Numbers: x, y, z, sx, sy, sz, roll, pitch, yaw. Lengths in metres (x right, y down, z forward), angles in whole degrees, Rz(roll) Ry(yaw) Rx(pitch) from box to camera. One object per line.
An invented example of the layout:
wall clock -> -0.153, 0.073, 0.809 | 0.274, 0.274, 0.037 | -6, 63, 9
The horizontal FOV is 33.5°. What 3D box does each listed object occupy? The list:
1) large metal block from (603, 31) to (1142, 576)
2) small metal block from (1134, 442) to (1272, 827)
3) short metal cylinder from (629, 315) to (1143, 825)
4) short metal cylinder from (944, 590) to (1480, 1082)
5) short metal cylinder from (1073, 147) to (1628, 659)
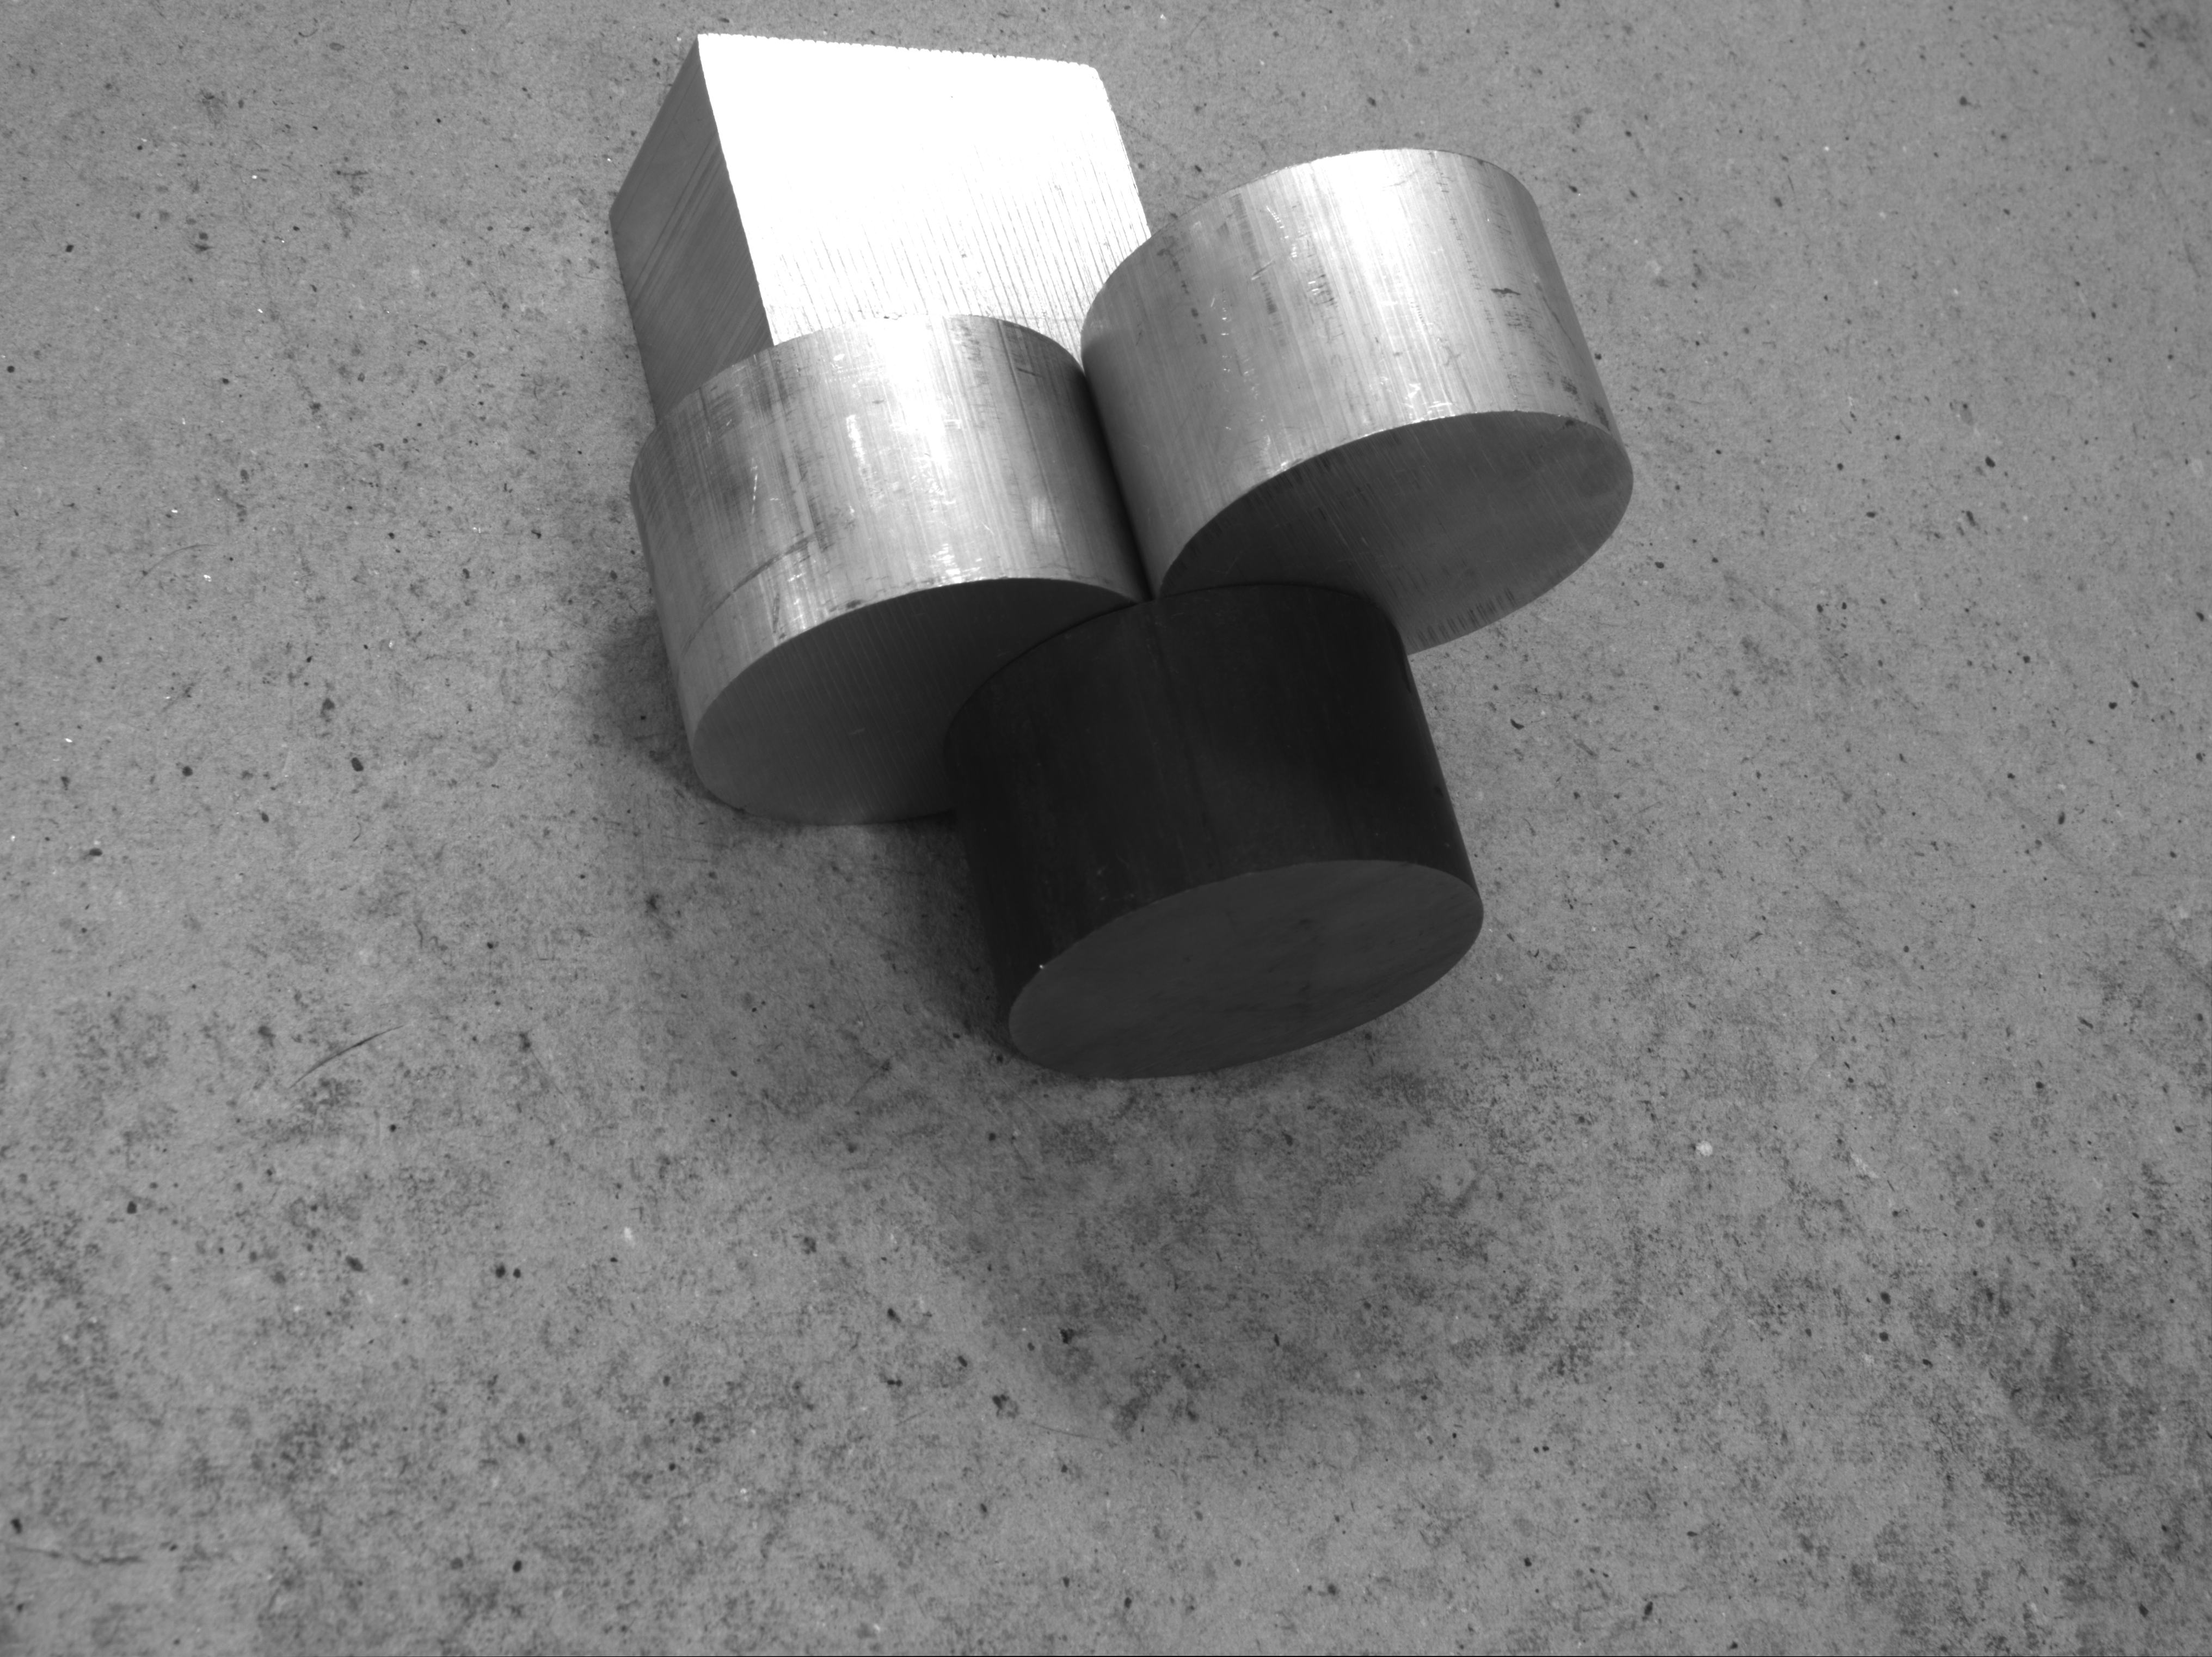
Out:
large metal block -> -0.038, -0.093, 0.661 | 0.080, 0.050, 0.080 | -2, 62, -29
small metal block -> 0.016, -0.034, 0.656 | 0.025, 0.050, 0.050 | 1, 61, -27
short metal cylinder -> -0.035, -0.042, 0.612 | 0.080, 0.080, 0.050 | -2, 63, -29
short metal cylinder -> 0.017, 0.003, 0.613 | 0.080, 0.080, 0.050 | 0, 62, -28
short metal cylinder -> 0.040, -0.067, 0.603 | 0.080, 0.080, 0.050 | -2, 63, -29
